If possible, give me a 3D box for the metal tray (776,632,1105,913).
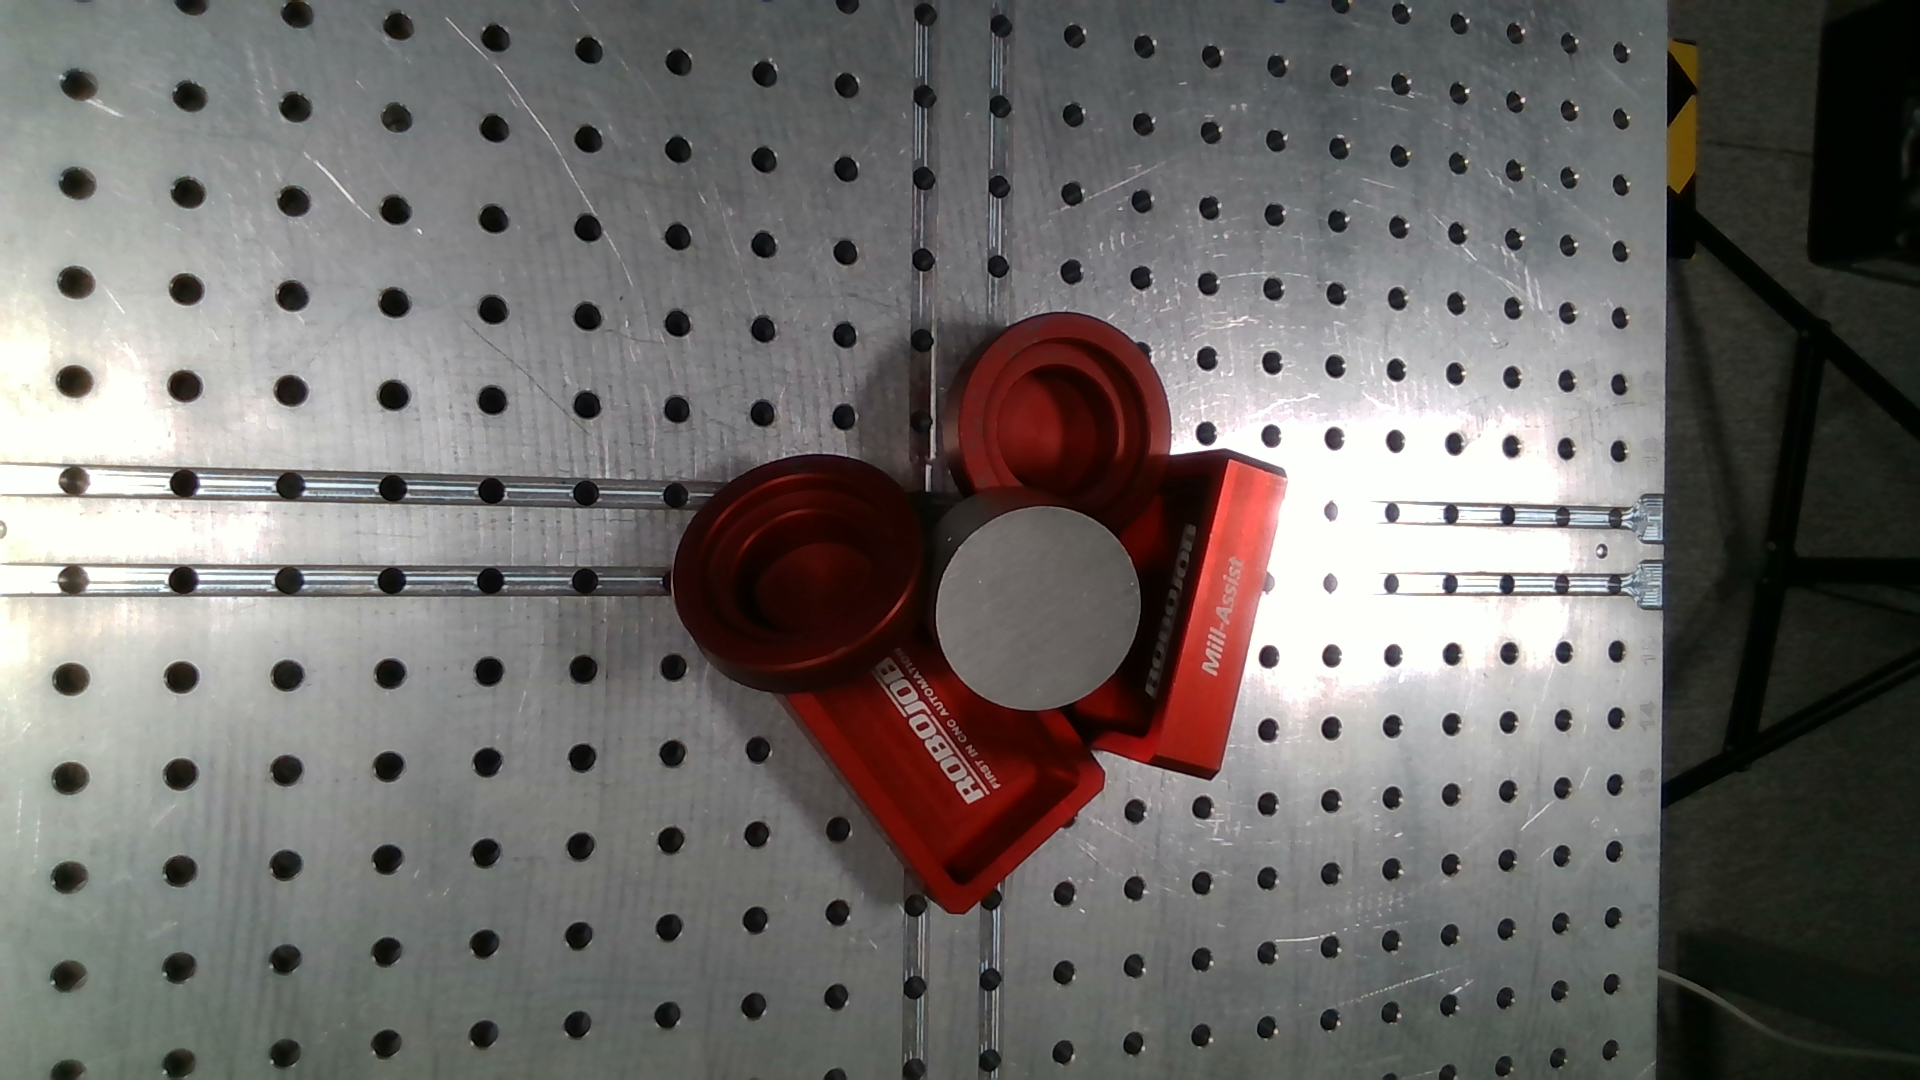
[{"bbox_3d":[-0.010,0.079,0.582,0.090,0.030,0.130,-39,103,-16],"label":"metal tray"}]

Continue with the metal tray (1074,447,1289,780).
[{"bbox_3d":[0.089,0.029,0.587,0.030,0.090,0.130,16,85,-20],"label":"metal tray"}]

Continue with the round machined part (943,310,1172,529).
[{"bbox_3d":[0.038,-0.047,0.594,0.098,0.042,0.098,0,90,-20],"label":"round machined part"}]

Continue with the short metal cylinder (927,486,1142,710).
[{"bbox_3d":[0.026,0.021,0.545,0.080,0.050,0.080,-2,102,-11],"label":"short metal cylinder"}]

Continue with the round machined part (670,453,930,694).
[{"bbox_3d":[-0.059,0.017,0.539,0.098,0.042,0.098,-5,56,7],"label":"round machined part"}]
